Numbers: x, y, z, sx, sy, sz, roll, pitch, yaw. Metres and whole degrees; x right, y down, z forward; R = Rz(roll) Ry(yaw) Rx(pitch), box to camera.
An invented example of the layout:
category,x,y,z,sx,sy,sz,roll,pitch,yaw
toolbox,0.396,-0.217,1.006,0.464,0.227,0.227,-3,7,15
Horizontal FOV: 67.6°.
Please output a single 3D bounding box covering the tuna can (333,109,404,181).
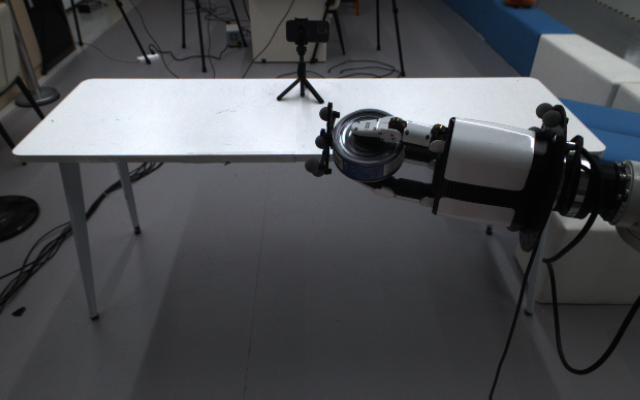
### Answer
category,x,y,z,sx,sy,sz,roll,pitch,yaw
tuna can,0.060,-0.062,0.562,0.085,0.034,0.085,-2,57,3
